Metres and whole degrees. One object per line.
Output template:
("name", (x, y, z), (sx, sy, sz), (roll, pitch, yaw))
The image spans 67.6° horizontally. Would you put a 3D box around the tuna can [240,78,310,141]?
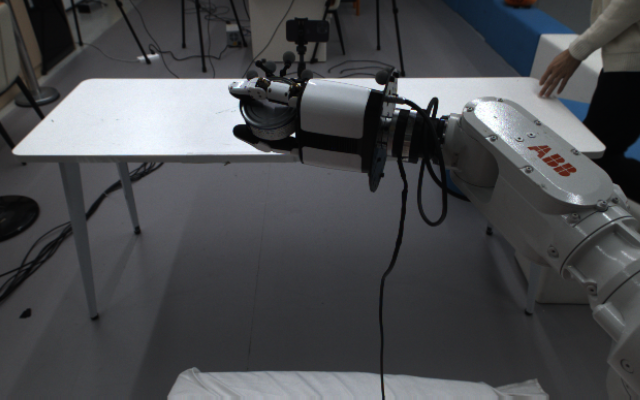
("tuna can", (-0.064, -0.124, 0.658), (0.085, 0.034, 0.085), (-3, 61, 6))
